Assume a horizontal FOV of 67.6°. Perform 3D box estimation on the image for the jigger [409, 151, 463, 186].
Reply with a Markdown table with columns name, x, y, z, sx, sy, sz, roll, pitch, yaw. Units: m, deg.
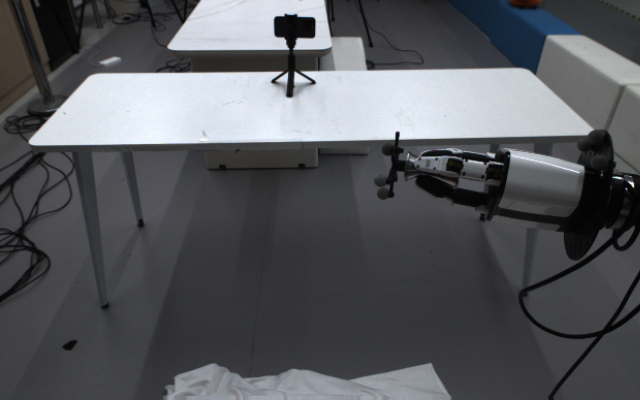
| name | x | y | z | sx | sy | sz | roll | pitch | yaw |
| --- | --- | --- | --- | --- | --- | --- | --- | --- | --- |
| jigger | 0.154 | -0.044 | 0.631 | 0.071 | 0.043 | 0.043 | 8 | 35 | 15 |
